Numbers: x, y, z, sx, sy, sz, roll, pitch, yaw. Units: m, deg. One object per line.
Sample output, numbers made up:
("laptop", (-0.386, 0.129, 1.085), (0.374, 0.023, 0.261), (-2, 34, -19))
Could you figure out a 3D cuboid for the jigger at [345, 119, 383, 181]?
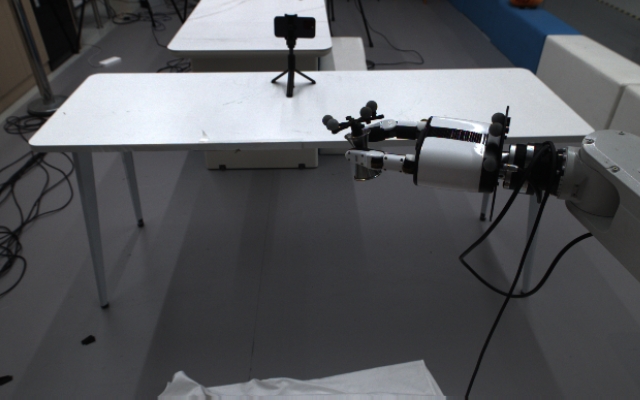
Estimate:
("jigger", (0.065, -0.069, 0.727), (0.043, 0.071, 0.043), (-14, 21, 6))
